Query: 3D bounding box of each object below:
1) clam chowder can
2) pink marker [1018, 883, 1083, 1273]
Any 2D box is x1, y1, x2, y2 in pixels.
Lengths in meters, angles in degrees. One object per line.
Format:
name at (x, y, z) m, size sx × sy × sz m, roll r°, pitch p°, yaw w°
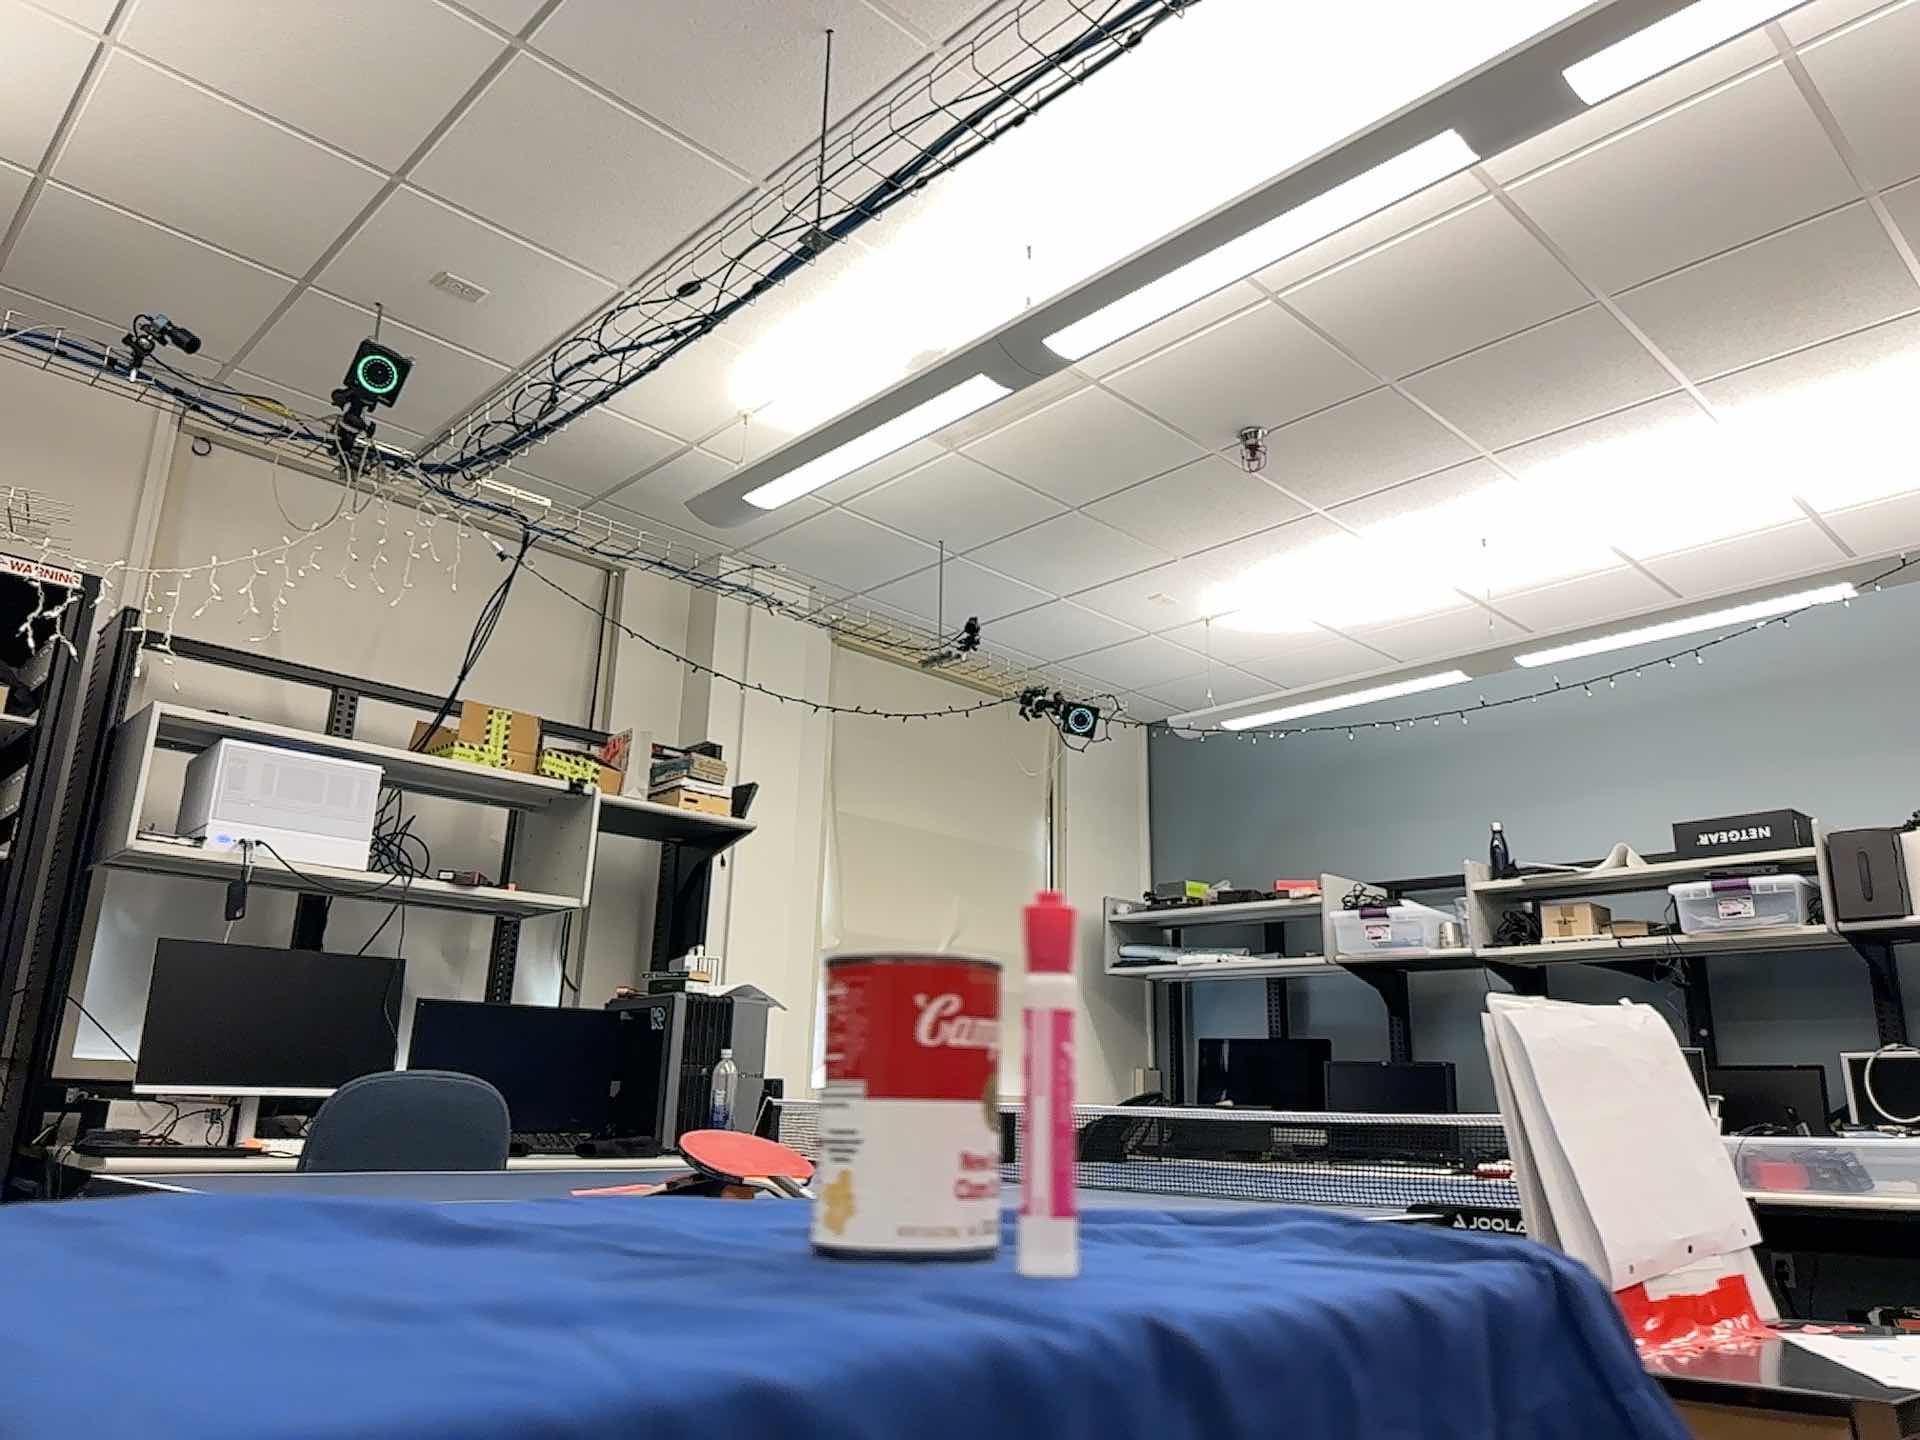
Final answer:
clam chowder can at (-0.017, 0.134, 0.487) m, size 0.068 × 0.102 × 0.068 m, roll 2°, pitch -13°, yaw 1°
pink marker at (0.029, 0.114, 0.438) m, size 0.020 × 0.121 × 0.020 m, roll 2°, pitch -14°, yaw 0°
